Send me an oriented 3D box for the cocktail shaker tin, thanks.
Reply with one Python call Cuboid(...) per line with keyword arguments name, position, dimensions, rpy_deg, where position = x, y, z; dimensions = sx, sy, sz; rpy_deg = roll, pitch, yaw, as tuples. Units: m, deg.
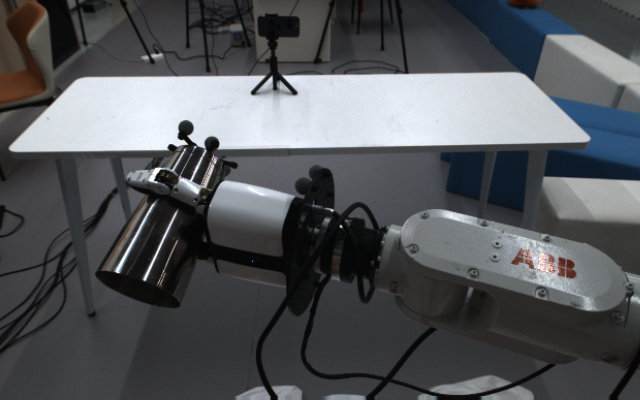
Cuboid(name="cocktail shaker tin", position=(-0.167, 0.025, 0.542), dimensions=(0.093, 0.093, 0.170), rpy_deg=(11, 60, 12))
